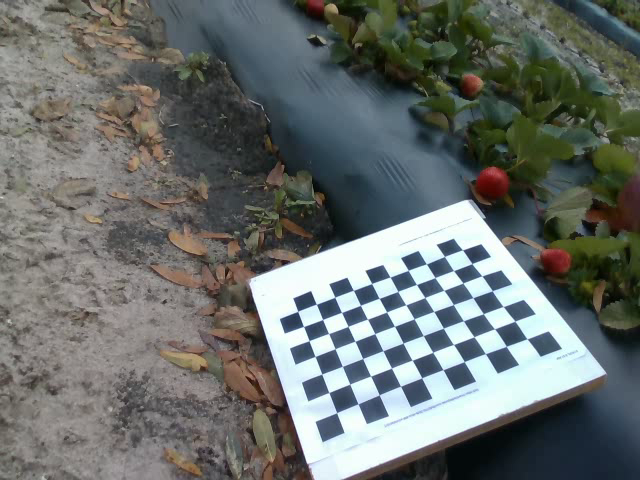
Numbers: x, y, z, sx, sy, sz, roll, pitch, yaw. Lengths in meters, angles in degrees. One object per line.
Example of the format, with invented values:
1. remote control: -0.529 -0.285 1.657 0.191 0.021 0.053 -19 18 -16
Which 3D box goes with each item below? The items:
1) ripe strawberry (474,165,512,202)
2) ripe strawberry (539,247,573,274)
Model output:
1. ripe strawberry: 0.235 -0.079 0.835 0.046 0.043 0.065 -18 -5 2
2. ripe strawberry: 0.274 0.025 0.729 0.042 0.041 0.037 24 -52 -30
